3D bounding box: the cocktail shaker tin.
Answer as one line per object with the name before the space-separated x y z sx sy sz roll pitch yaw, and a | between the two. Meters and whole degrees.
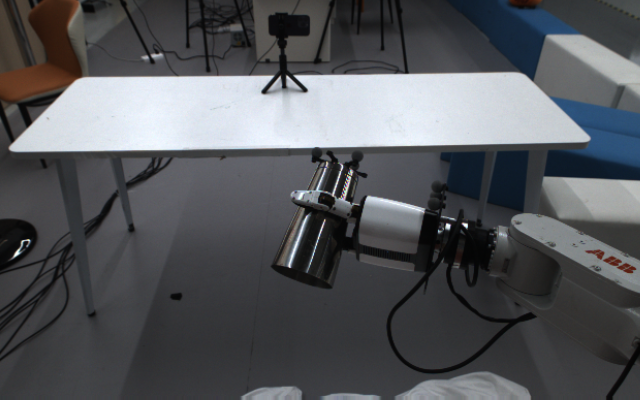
cocktail shaker tin | -0.001 0.032 0.703 0.093 0.093 0.170 14 70 16
